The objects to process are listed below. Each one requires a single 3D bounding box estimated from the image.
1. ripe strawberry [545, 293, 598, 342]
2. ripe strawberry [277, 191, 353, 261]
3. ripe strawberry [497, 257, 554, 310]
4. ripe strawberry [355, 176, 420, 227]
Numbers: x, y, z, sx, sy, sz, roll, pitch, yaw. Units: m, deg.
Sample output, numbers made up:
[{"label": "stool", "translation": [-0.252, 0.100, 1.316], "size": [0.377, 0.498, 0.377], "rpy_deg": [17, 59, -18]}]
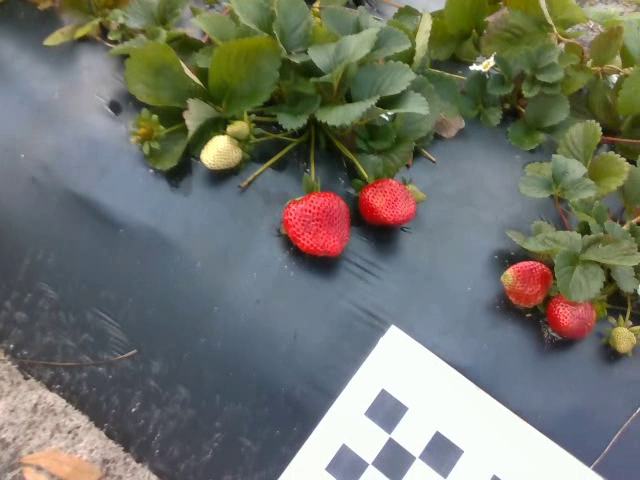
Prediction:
[{"label": "ripe strawberry", "translation": [0.191, 0.058, 0.465], "size": [0.043, 0.041, 0.049], "rpy_deg": [30, 20, 14]}, {"label": "ripe strawberry", "translation": [-0.001, -0.010, 0.492], "size": [0.058, 0.065, 0.043], "rpy_deg": [-26, -33, 6]}, {"label": "ripe strawberry", "translation": [0.161, 0.035, 0.487], "size": [0.053, 0.047, 0.038], "rpy_deg": [17, -6, -21]}, {"label": "ripe strawberry", "translation": [0.058, -0.028, 0.516], "size": [0.051, 0.051, 0.059], "rpy_deg": [-32, 25, 5]}]
